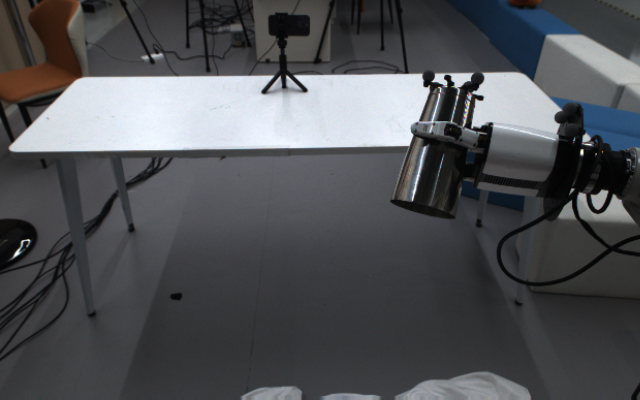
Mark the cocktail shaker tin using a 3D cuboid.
[{"bbox_3d":[0.165,-0.069,0.680,0.093,0.170,0.093,16,-6,2],"label":"cocktail shaker tin"}]
